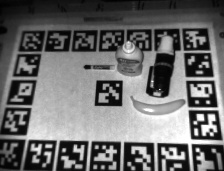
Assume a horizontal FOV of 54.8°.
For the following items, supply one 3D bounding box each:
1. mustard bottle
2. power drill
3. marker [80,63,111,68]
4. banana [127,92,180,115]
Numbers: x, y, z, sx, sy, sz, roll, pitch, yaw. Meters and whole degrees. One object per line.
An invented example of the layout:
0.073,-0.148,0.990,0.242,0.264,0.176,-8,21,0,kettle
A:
0.049,-0.099,0.770,0.096,0.192,0.058,10,73,8,mustard bottle
0.150,-0.043,0.726,0.057,0.188,0.184,13,71,9,power drill
-0.067,-0.081,0.865,0.121,0.020,0.019,2,73,5,marker
0.147,0.071,0.791,0.196,0.039,0.074,7,75,9,banana
